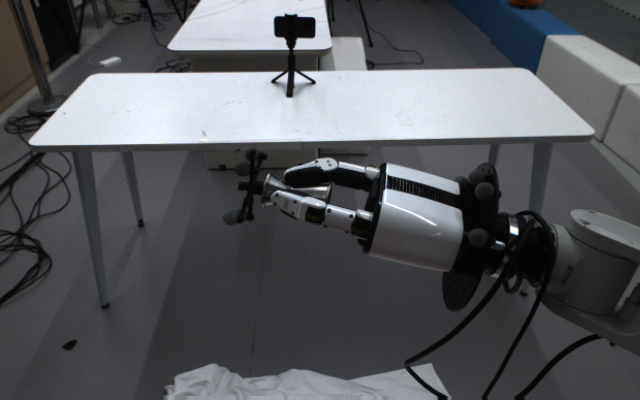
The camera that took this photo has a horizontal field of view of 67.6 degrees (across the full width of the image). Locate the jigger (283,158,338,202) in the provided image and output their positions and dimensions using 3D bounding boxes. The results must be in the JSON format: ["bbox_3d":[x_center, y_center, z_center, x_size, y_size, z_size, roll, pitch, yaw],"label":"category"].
[{"bbox_3d":[-0.017,-0.006,0.518,0.071,0.043,0.043,12,36,5],"label":"jigger"}]
